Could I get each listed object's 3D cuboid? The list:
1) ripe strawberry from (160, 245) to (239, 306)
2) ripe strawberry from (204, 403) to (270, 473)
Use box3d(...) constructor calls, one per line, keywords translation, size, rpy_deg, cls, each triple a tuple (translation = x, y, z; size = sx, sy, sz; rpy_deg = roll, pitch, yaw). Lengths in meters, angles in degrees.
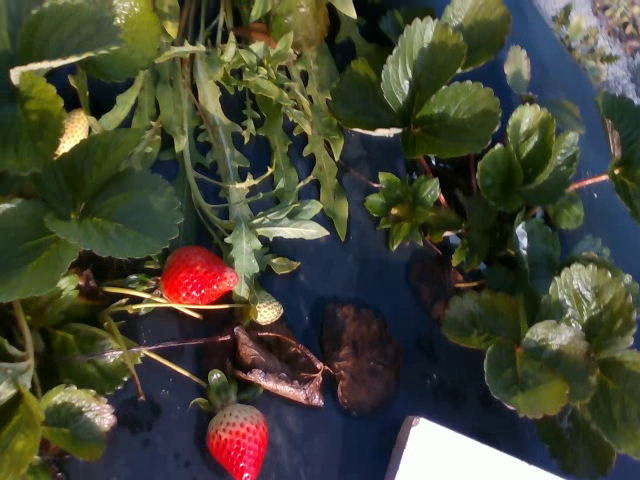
box3d(translation=(-0.065, 0.017, 0.369), size=(0.048, 0.040, 0.031), rpy_deg=(-3, -17, 30), cls="ripe strawberry")
box3d(translation=(-0.041, 0.104, 0.356), size=(0.035, 0.043, 0.030), rpy_deg=(-15, -14, -16), cls="ripe strawberry")
